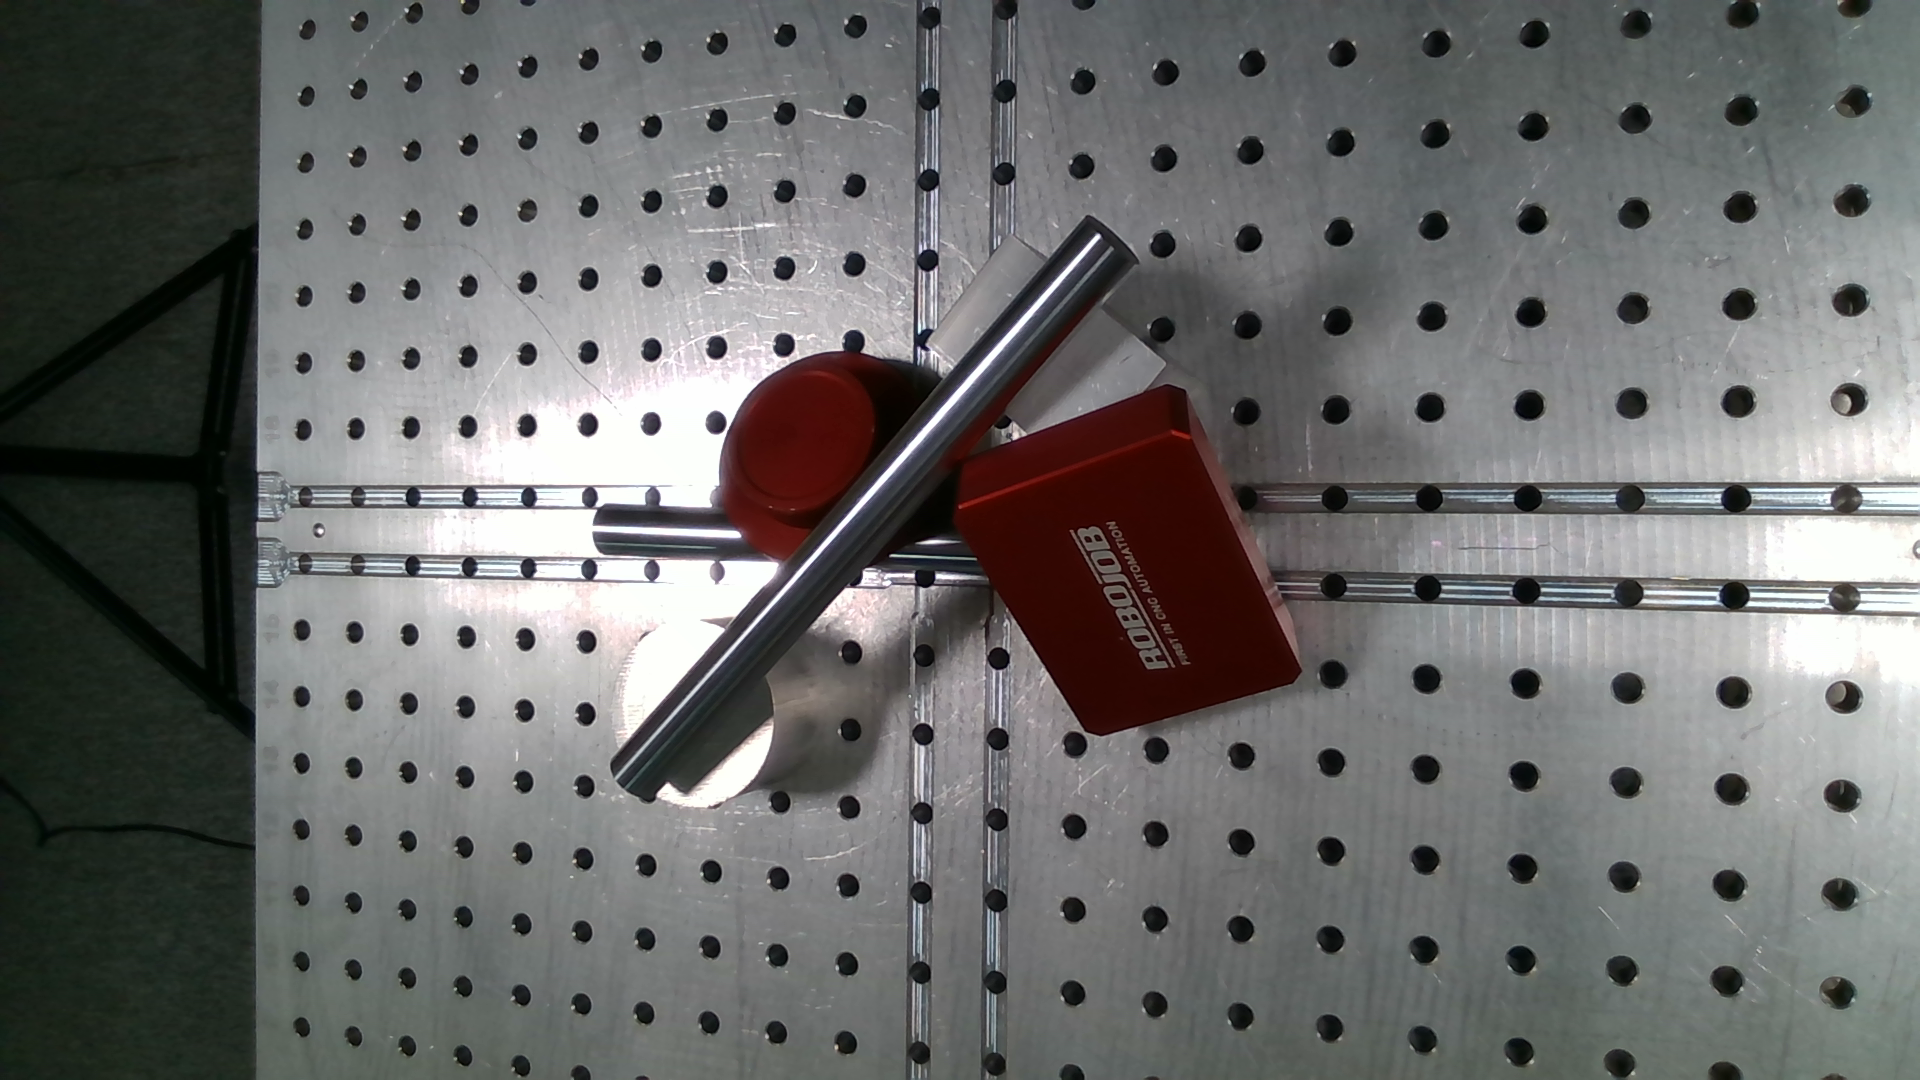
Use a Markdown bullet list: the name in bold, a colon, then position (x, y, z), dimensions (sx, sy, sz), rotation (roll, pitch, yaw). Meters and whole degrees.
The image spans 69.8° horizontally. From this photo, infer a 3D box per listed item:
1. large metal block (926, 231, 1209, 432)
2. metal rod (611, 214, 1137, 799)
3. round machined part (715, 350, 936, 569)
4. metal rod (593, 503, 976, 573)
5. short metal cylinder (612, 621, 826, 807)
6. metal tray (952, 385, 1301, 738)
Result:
- **large metal block**: position (0.045, -0.069, 0.543), dimensions (0.080, 0.080, 0.050), rotation (43, 104, 15)
- **metal rod**: position (-0.043, -0.001, 0.529), dimensions (0.025, 0.025, 0.301), rotation (49, 113, 13)
- **round machined part**: position (-0.061, -0.036, 0.584), dimensions (0.098, 0.042, 0.098), rotation (-6, 71, 18)
- **metal rod**: position (-0.025, 0.001, 0.597), dimensions (0.300, 0.025, 0.025), rotation (2, 91, 20)
- **short metal cylinder**: position (-0.107, 0.075, 0.616), dimensions (0.080, 0.050, 0.080), rotation (0, 90, 20)
- **metal tray**: position (0.065, 0.013, 0.520), dimensions (0.090, 0.030, 0.130), rotation (-19, 126, 19)
